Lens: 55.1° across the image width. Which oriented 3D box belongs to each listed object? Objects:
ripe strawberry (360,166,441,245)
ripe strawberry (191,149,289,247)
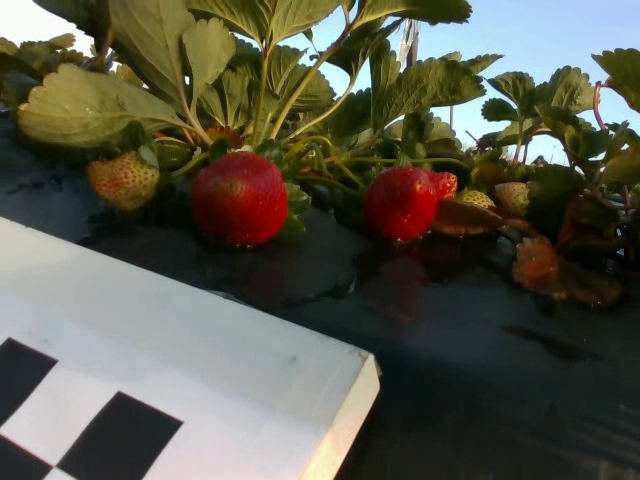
[{"bbox_3d":[0.041,-0.019,0.304,0.044,0.042,0.055,-34,-2,-14],"label":"ripe strawberry"},{"bbox_3d":[-0.040,-0.024,0.275,0.050,0.050,0.065,-17,-9,2],"label":"ripe strawberry"}]
